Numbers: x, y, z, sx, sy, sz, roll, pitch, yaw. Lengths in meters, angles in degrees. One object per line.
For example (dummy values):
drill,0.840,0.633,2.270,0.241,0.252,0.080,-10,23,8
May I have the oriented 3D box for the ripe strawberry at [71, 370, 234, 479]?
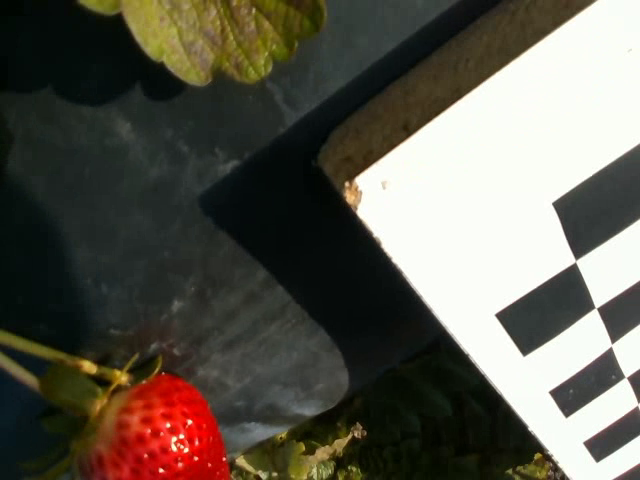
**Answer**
ripe strawberry,-0.036,0.052,0.146,0.044,0.040,0.037,30,20,-24
